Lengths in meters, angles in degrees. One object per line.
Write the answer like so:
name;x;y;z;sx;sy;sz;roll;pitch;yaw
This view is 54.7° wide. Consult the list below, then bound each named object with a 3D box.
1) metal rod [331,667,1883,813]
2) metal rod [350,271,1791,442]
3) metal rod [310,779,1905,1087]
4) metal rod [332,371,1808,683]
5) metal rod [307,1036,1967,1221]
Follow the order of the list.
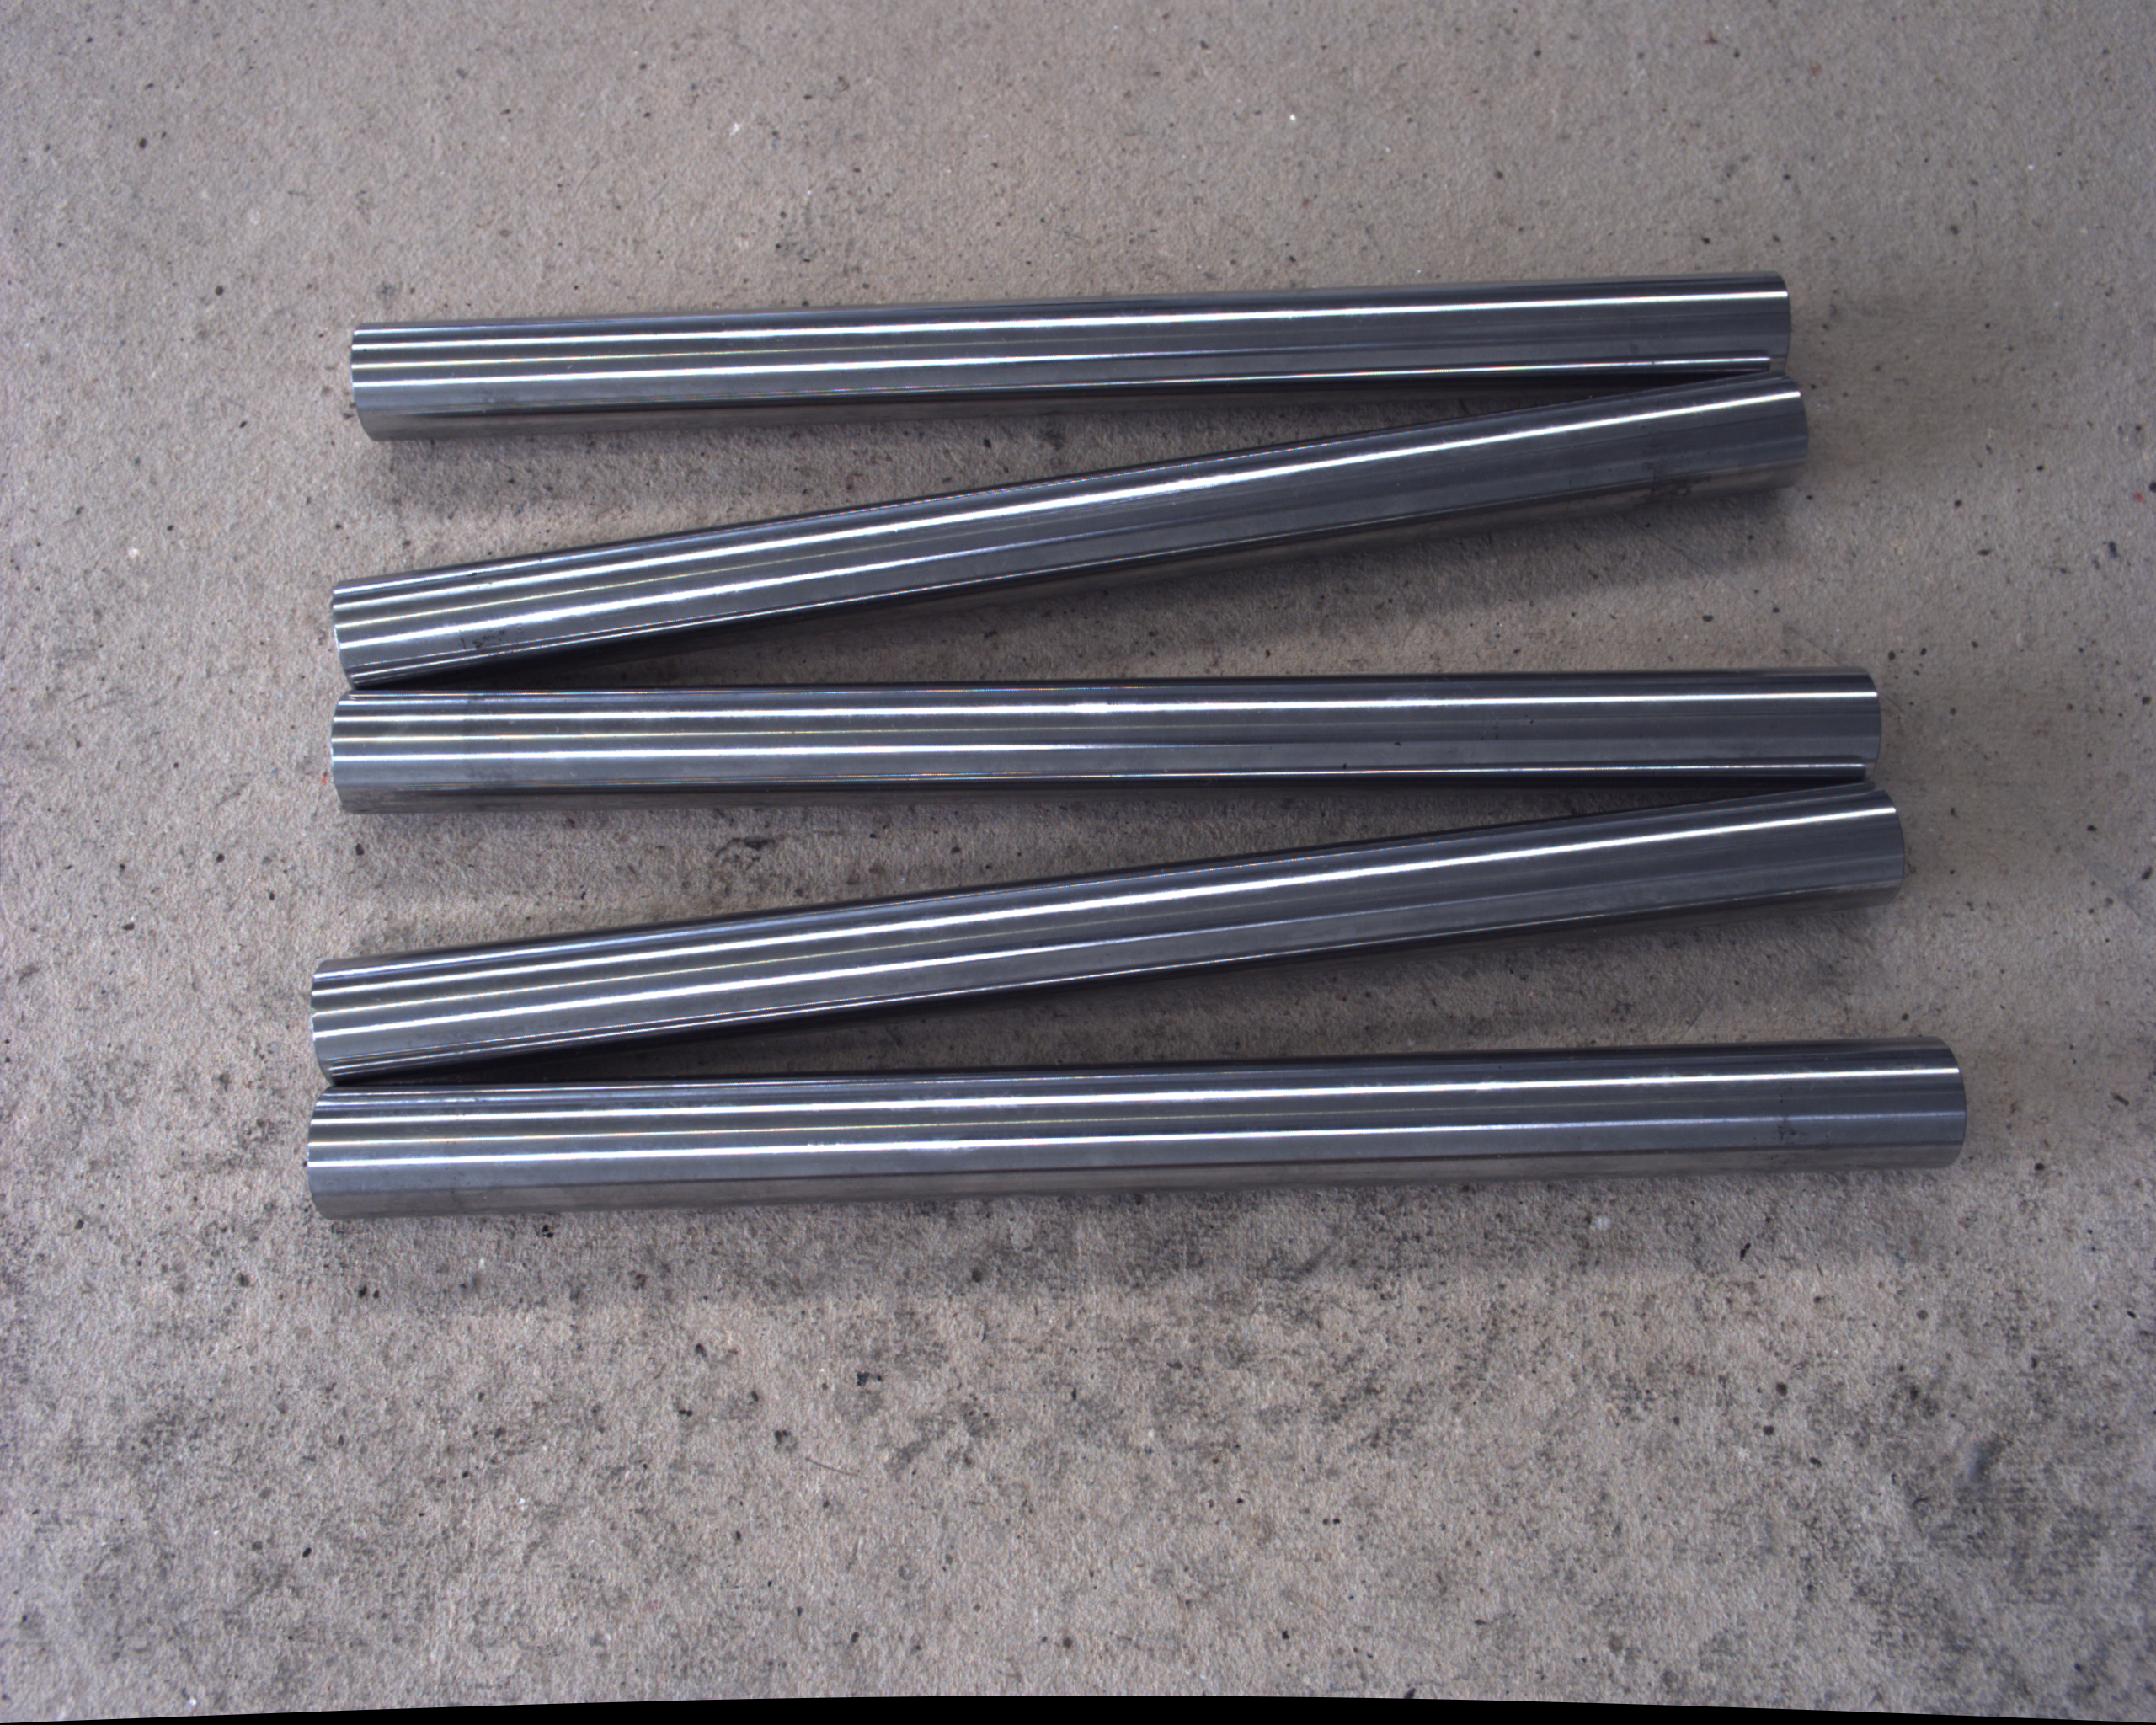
metal rod;0.006;-0.025;0.418;0.302;0.025;0.025;-1;70;-1
metal rod;-0.001;-0.109;0.449;0.302;0.025;0.025;-2;70;-1
metal rod;0.008;0.013;0.404;0.302;0.025;0.025;-7;70;-3
metal rod;0.001;-0.069;0.434;0.302;0.025;0.025;-9;70;-4
metal rod;0.012;0.050;0.391;0.302;0.025;0.025;-2;70;-1
